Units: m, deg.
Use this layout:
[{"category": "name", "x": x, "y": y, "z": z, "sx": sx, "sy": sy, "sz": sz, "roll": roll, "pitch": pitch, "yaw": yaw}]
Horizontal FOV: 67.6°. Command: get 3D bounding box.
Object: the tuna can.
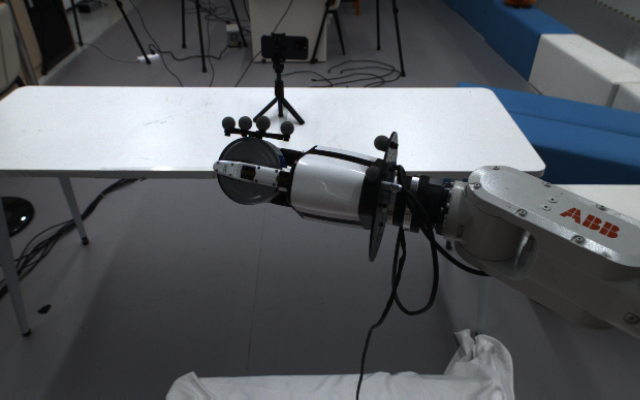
[{"category": "tuna can", "x": -0.085, "y": -0.037, "z": 0.618, "sx": 0.085, "sy": 0.085, "sz": 0.034, "roll": 12, "pitch": 2, "yaw": 13}]
